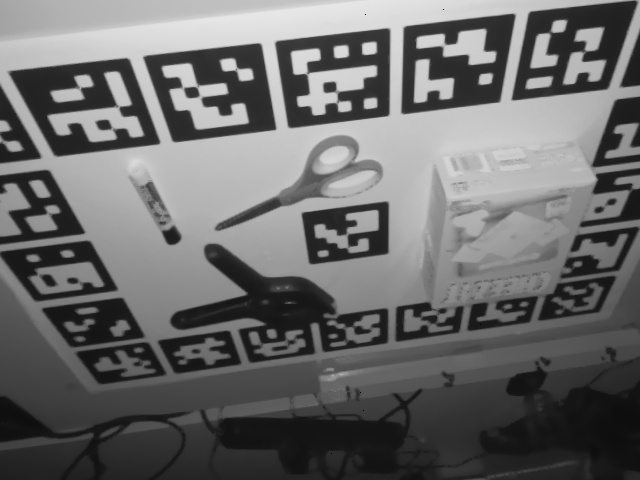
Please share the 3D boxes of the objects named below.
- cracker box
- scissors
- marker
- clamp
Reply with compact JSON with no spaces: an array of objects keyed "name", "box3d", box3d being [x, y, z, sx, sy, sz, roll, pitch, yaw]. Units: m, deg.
[{"name":"cracker box","box3d":[0.224,-0.016,0.786,0.165,0.072,0.212,-8,140,-2]},{"name":"scissors","box3d":[-0.017,-0.054,0.734,0.200,0.016,0.088,-26,139,22]},{"name":"marker","box3d":[-0.159,-0.036,0.726,0.019,0.020,0.120,-11,141,2]},{"name":"clamp","box3d":[-0.050,0.068,0.879,0.205,0.037,0.162,13,137,-23]}]
